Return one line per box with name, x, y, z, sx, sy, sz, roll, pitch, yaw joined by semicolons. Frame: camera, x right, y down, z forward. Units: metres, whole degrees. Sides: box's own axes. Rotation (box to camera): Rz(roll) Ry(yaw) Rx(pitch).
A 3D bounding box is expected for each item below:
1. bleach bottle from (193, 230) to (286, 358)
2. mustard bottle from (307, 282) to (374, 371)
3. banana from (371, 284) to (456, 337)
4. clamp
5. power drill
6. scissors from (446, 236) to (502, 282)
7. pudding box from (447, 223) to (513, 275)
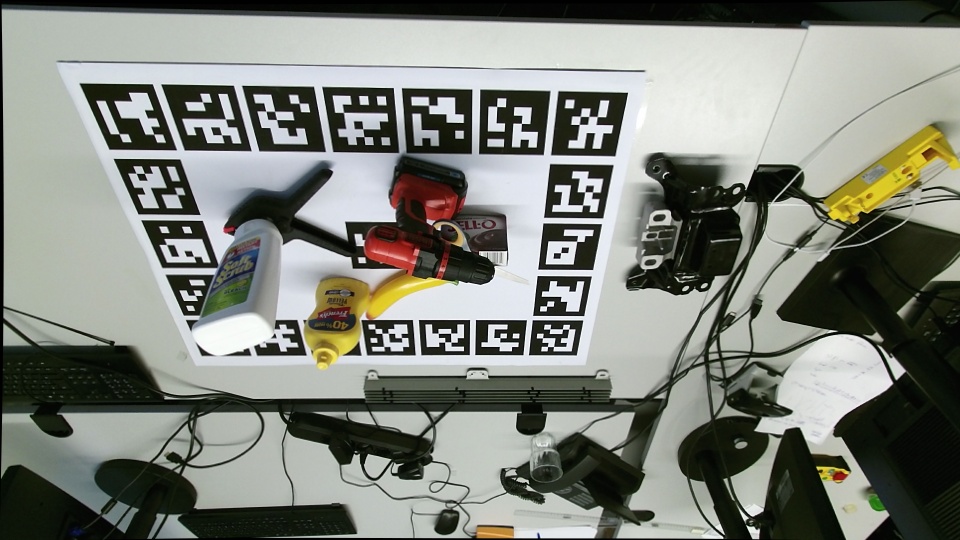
bleach bottle;-0.351;0.016;0.807;0.103;0.249;0.068;-19;129;3
mustard bottle;-0.247;0.100;0.933;0.096;0.190;0.058;12;126;-9
banana;-0.140;0.073;0.997;0.198;0.038;0.074;-33;138;21
clamp;-0.318;-0.059;0.882;0.203;0.036;0.165;-4;125;3
power drill;-0.057;-0.057;0.780;0.185;0.186;0.057;9;133;-12
scissors;0.008;0.009;0.847;0.203;0.016;0.088;23;119;-12
pudding box;-0.002;-0.035;0.894;0.114;0.089;0.038;4;133;-4
